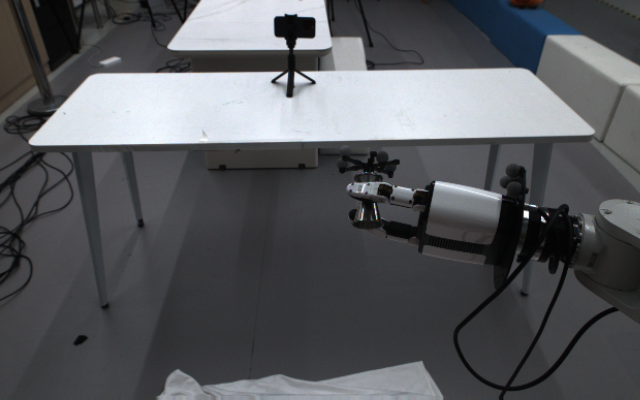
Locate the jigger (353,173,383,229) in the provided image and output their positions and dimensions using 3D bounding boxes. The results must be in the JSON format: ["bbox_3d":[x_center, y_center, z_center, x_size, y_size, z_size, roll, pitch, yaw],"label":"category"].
[{"bbox_3d":[0.064,-0.001,0.653,0.043,0.043,0.071,3,72,1],"label":"jigger"}]
